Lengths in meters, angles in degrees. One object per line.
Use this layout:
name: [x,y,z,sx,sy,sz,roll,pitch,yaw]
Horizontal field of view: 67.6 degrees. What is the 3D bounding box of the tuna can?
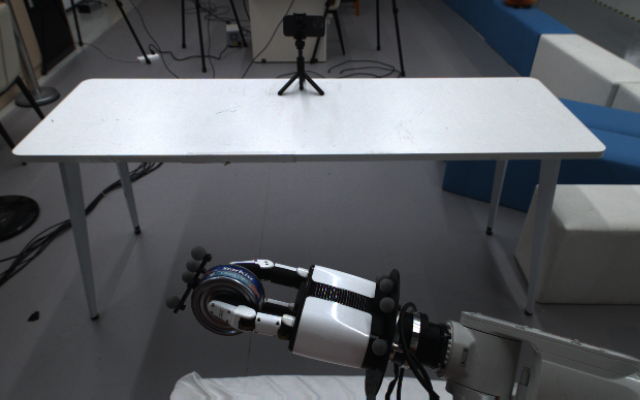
tuna can: [-0.109,0.127,0.593,0.085,0.085,0.034,4,21,2]
